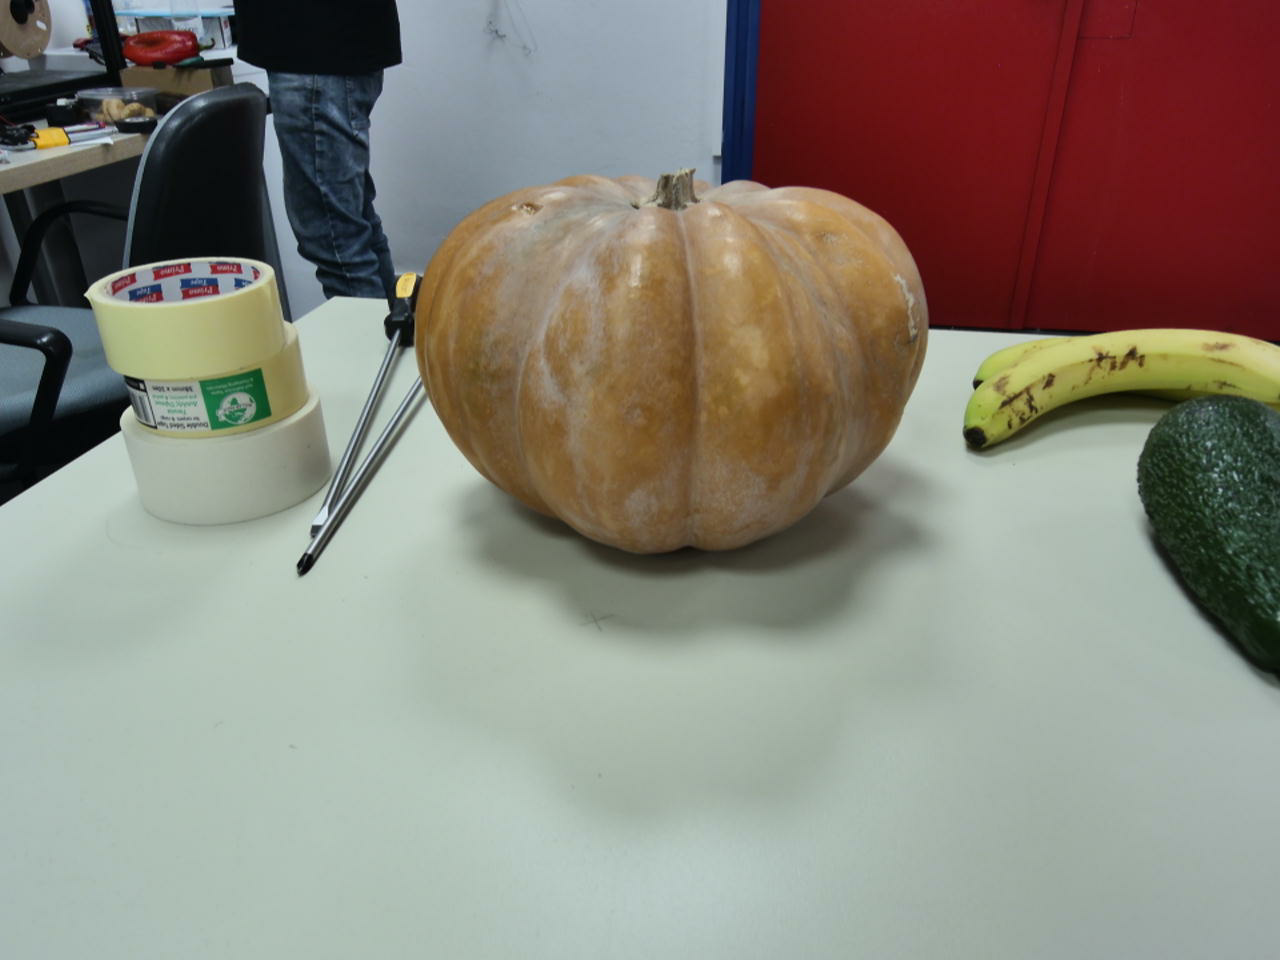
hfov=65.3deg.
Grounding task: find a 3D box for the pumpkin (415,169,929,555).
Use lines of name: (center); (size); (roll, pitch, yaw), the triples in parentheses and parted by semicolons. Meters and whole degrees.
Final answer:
pumpkin: (0.015, -0.072, 0.536); (0.277, 0.181, 0.277); (0, 26, 0)
